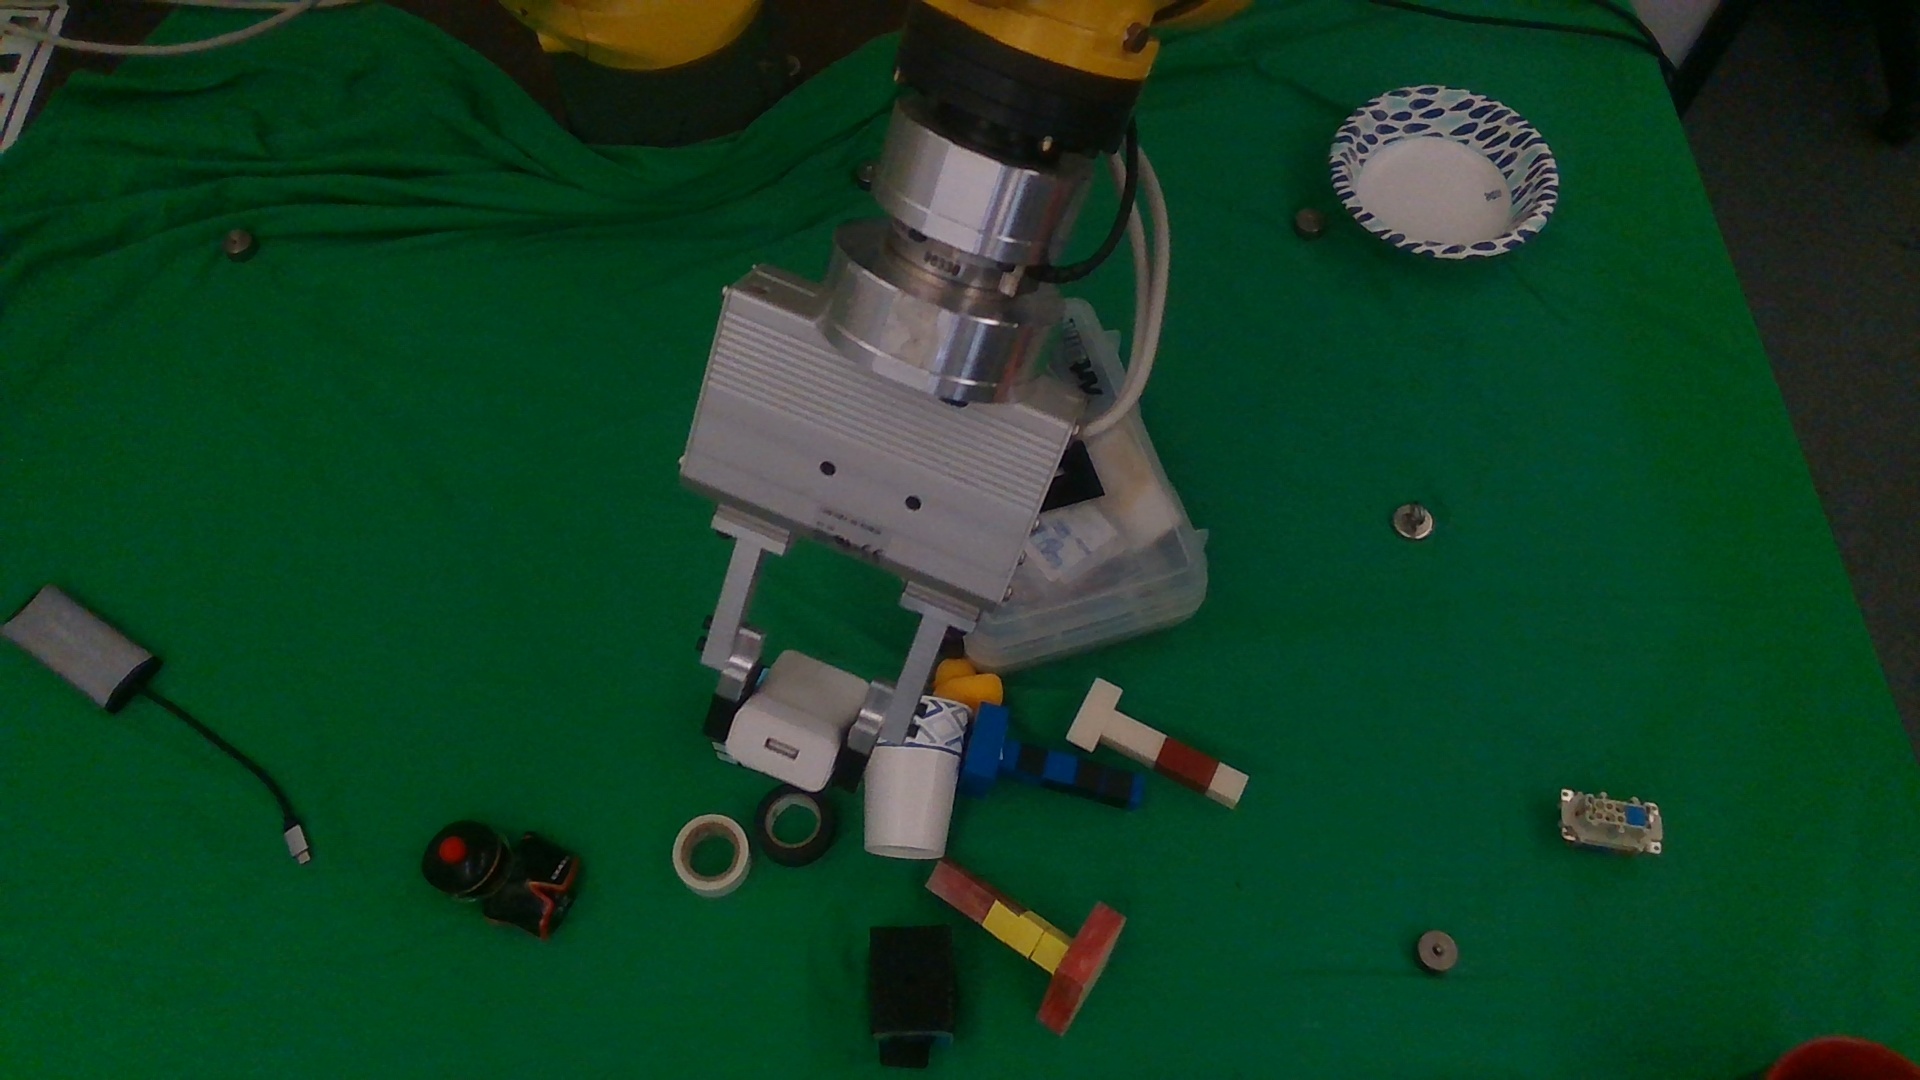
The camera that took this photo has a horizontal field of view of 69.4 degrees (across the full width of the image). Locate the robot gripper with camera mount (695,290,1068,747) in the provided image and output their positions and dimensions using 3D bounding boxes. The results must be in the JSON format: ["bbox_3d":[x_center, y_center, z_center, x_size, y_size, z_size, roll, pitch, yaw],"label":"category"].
[{"bbox_3d":[-0.023,-0.029,0.574,0.119,0.158,0.193,18,28,5],"label":"robot gripper with camera mount"}]

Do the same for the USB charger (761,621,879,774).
[{"bbox_3d":[-0.054,0.058,0.557,0.044,0.029,0.075,7,32,-5],"label":"USB charger"}]
